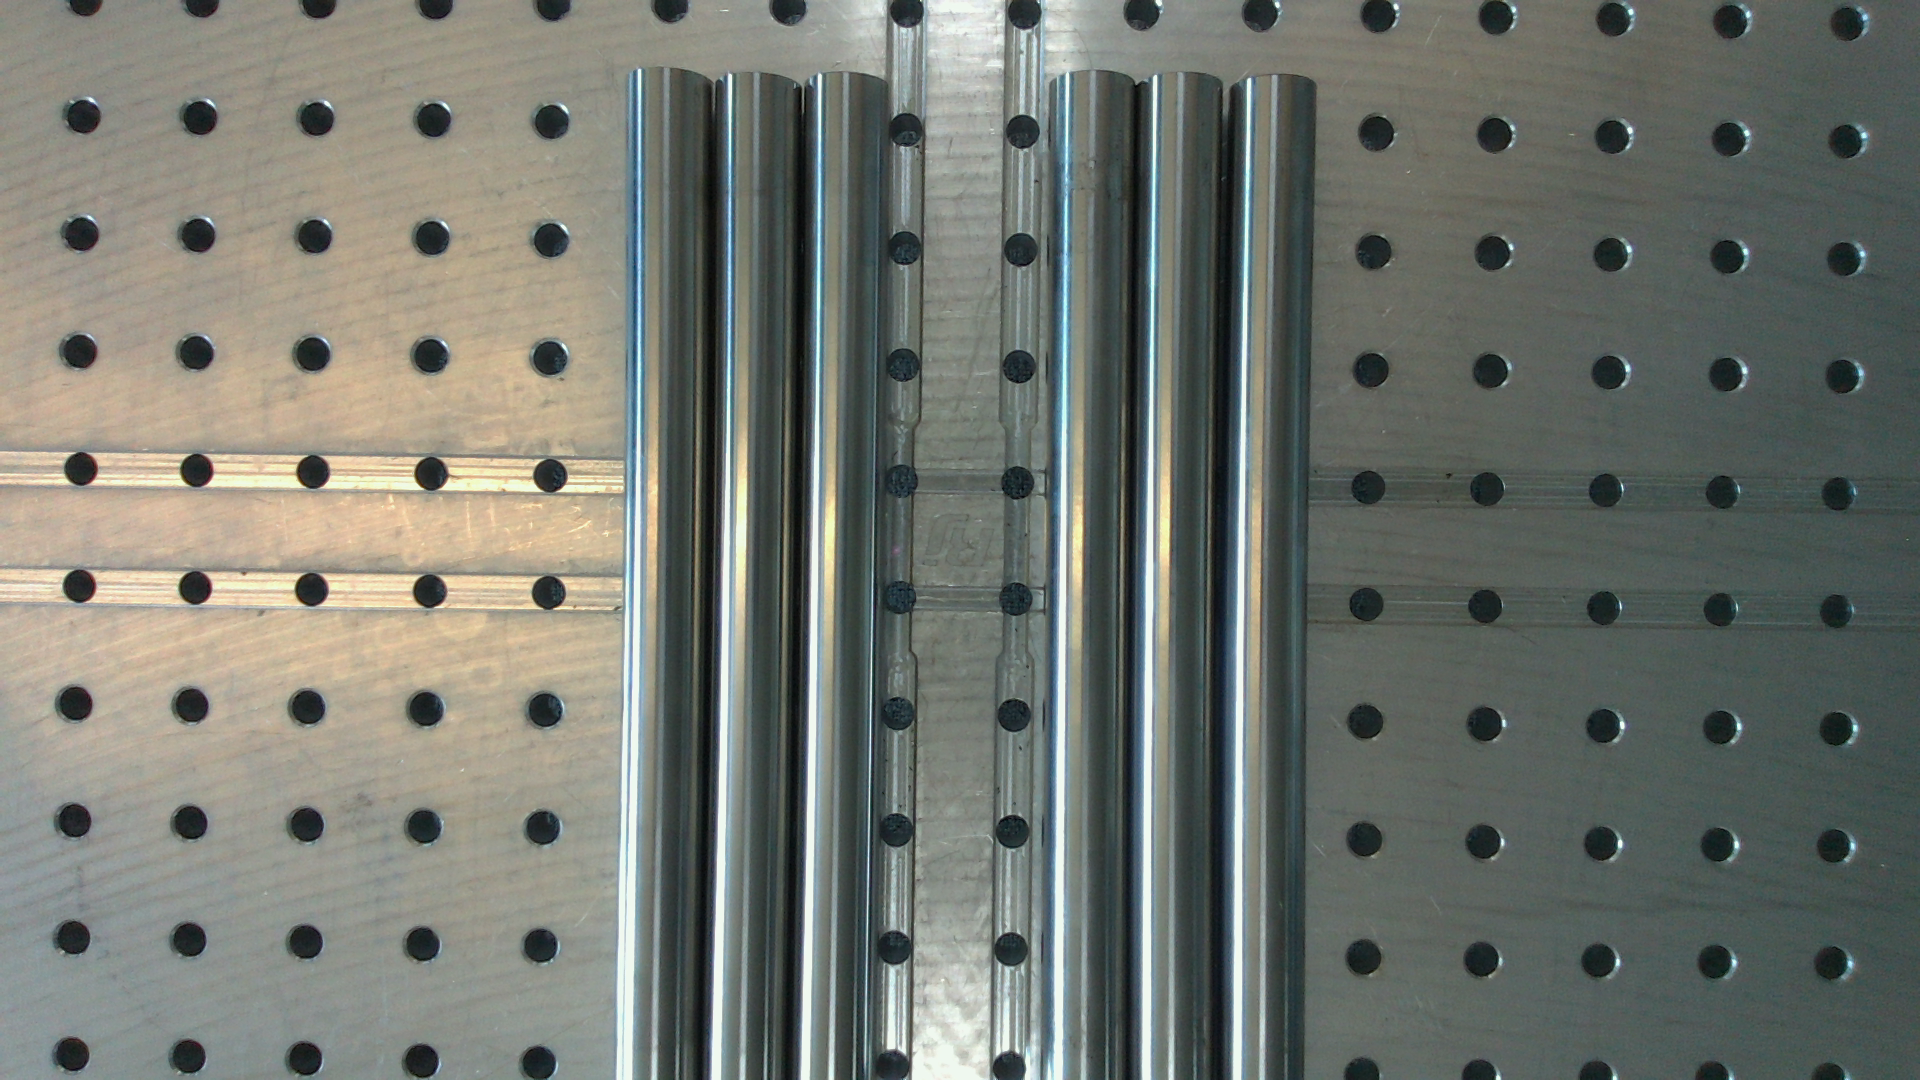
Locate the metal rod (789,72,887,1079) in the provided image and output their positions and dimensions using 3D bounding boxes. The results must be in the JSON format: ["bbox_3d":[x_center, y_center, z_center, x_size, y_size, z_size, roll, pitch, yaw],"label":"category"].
[{"bbox_3d":[-0.035,0.019,0.397,0.025,0.025,0.300,1,90,0],"label":"metal rod"}]

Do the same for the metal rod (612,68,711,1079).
[{"bbox_3d":[-0.086,0.018,0.397,0.025,0.025,0.300,1,90,0],"label":"metal rod"}]

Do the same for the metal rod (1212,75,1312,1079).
[{"bbox_3d":[0.087,0.020,0.397,0.025,0.025,0.300,1,90,0],"label":"metal rod"}]

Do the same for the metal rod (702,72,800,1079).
[{"bbox_3d":[-0.060,0.019,0.397,0.025,0.025,0.300,1,90,0],"label":"metal rod"}]

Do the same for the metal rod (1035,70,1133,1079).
[{"bbox_3d":[0.035,0.019,0.397,0.025,0.025,0.300,1,90,0],"label":"metal rod"}]

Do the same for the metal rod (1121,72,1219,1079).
[{"bbox_3d":[0.060,0.019,0.397,0.025,0.025,0.300,1,90,0],"label":"metal rod"}]
